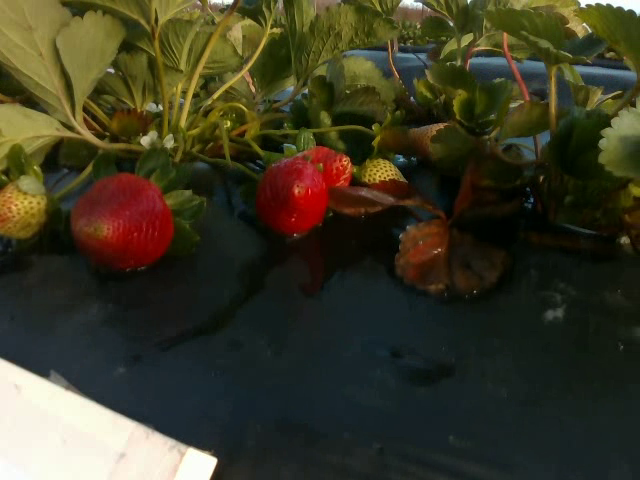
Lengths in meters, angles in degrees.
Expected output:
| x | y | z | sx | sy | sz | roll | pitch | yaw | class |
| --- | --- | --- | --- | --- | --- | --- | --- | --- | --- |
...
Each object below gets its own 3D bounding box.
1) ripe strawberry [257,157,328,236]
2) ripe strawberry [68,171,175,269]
| x | y | z | sx | sy | sz | roll | pitch | yaw | class |
| --- | --- | --- | --- | --- | --- | --- | --- | --- | --- |
| -0.015 | -0.021 | 0.297 | 0.044 | 0.042 | 0.055 | -42 | 6 | -7 | ripe strawberry |
| -0.096 | -0.010 | 0.269 | 0.050 | 0.050 | 0.065 | -23 | 1 | 6 | ripe strawberry |
